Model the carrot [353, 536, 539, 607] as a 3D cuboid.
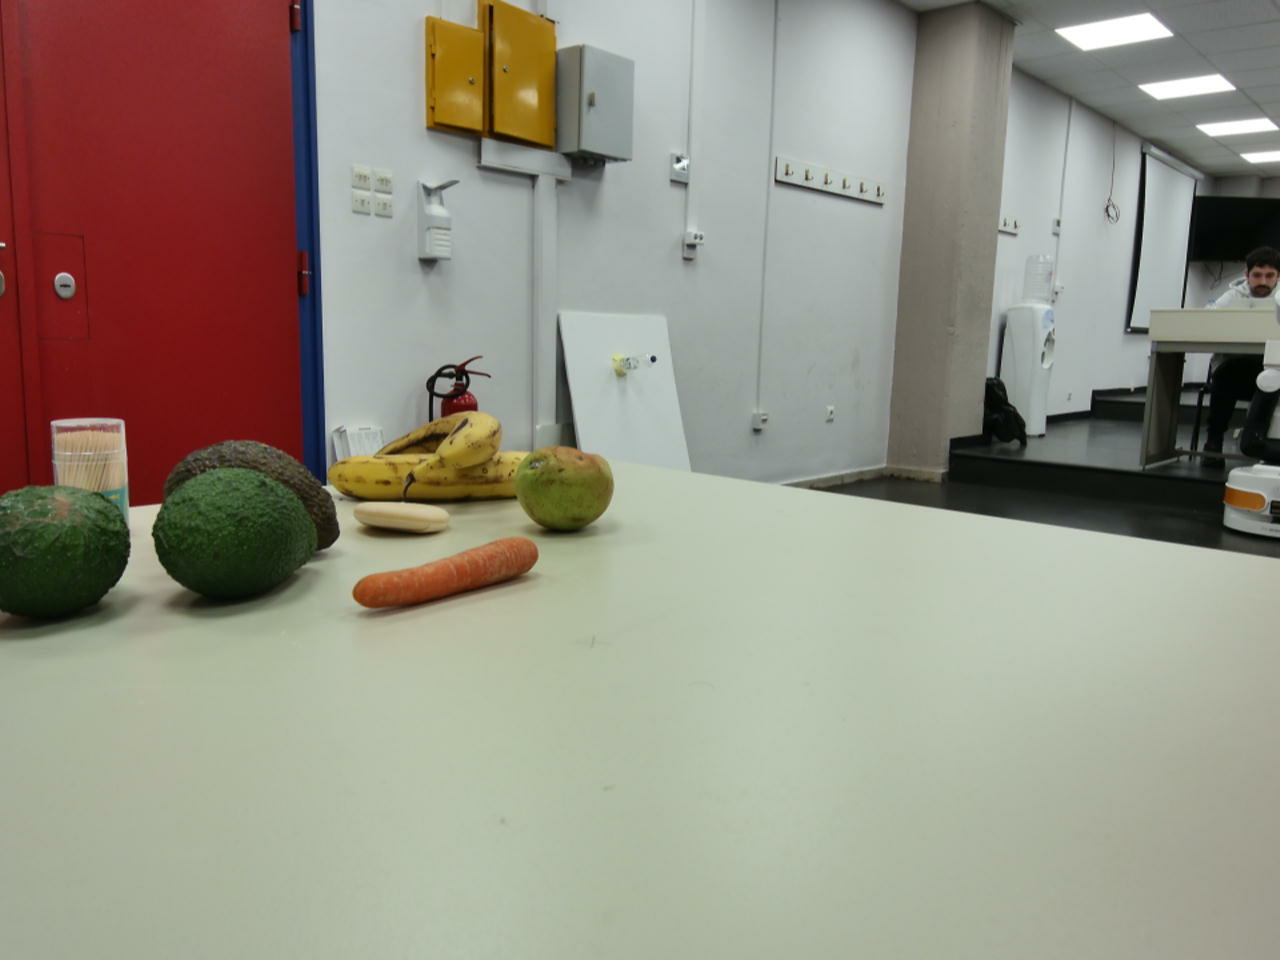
[{"bbox_3d":[-0.100,0.049,0.534,0.024,0.023,0.122,6,9,39],"label":"carrot"}]
